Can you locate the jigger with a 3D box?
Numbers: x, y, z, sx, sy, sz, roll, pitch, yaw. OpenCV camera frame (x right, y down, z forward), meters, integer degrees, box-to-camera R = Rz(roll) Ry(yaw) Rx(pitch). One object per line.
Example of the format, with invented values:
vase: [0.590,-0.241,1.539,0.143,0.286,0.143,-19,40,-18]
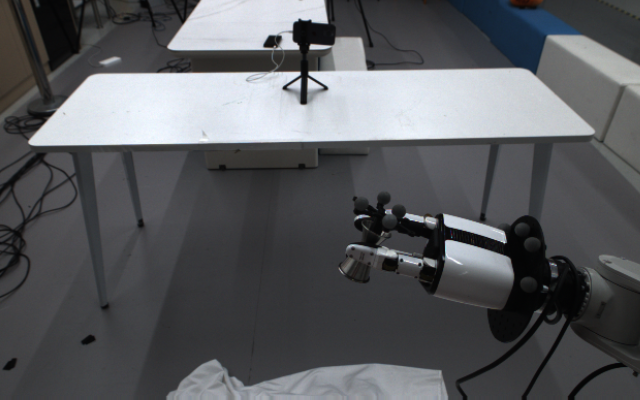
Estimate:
jigger: [0.055,0.063,0.602,0.043,0.071,0.043,23,19,-8]
